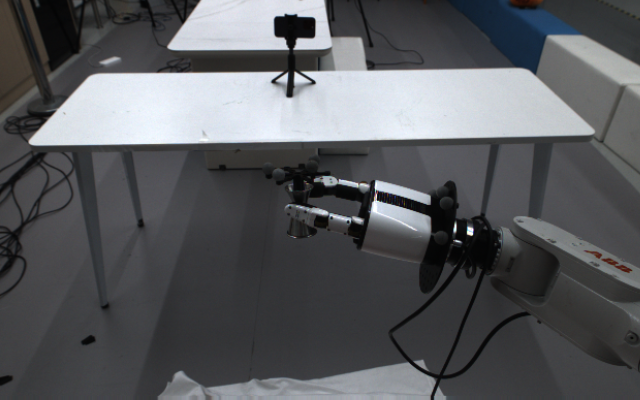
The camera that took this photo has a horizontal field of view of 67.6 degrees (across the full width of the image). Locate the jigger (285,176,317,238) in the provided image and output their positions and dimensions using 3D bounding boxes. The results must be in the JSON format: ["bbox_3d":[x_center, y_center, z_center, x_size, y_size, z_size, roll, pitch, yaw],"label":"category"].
[{"bbox_3d":[-0.027,0.014,0.672,0.043,0.071,0.043,-2,19,1],"label":"jigger"}]
